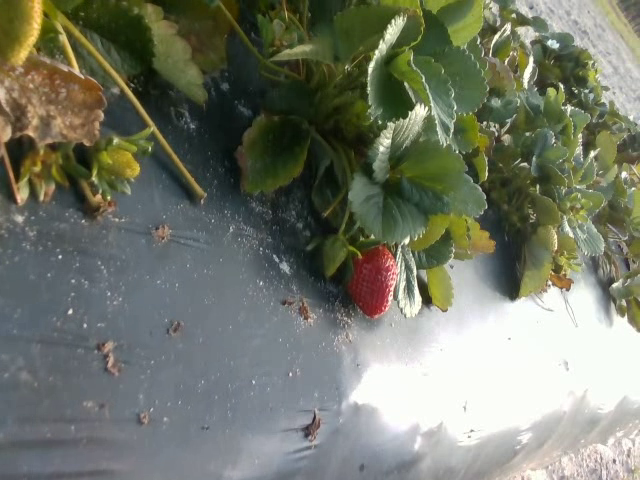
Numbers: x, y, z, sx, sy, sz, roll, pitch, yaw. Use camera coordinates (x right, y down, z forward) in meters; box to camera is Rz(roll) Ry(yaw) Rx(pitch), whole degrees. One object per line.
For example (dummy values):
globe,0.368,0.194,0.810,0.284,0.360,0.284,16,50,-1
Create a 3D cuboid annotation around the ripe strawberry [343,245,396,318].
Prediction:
ripe strawberry,0.023,0.020,0.259,0.029,0.036,0.021,13,-26,-40
